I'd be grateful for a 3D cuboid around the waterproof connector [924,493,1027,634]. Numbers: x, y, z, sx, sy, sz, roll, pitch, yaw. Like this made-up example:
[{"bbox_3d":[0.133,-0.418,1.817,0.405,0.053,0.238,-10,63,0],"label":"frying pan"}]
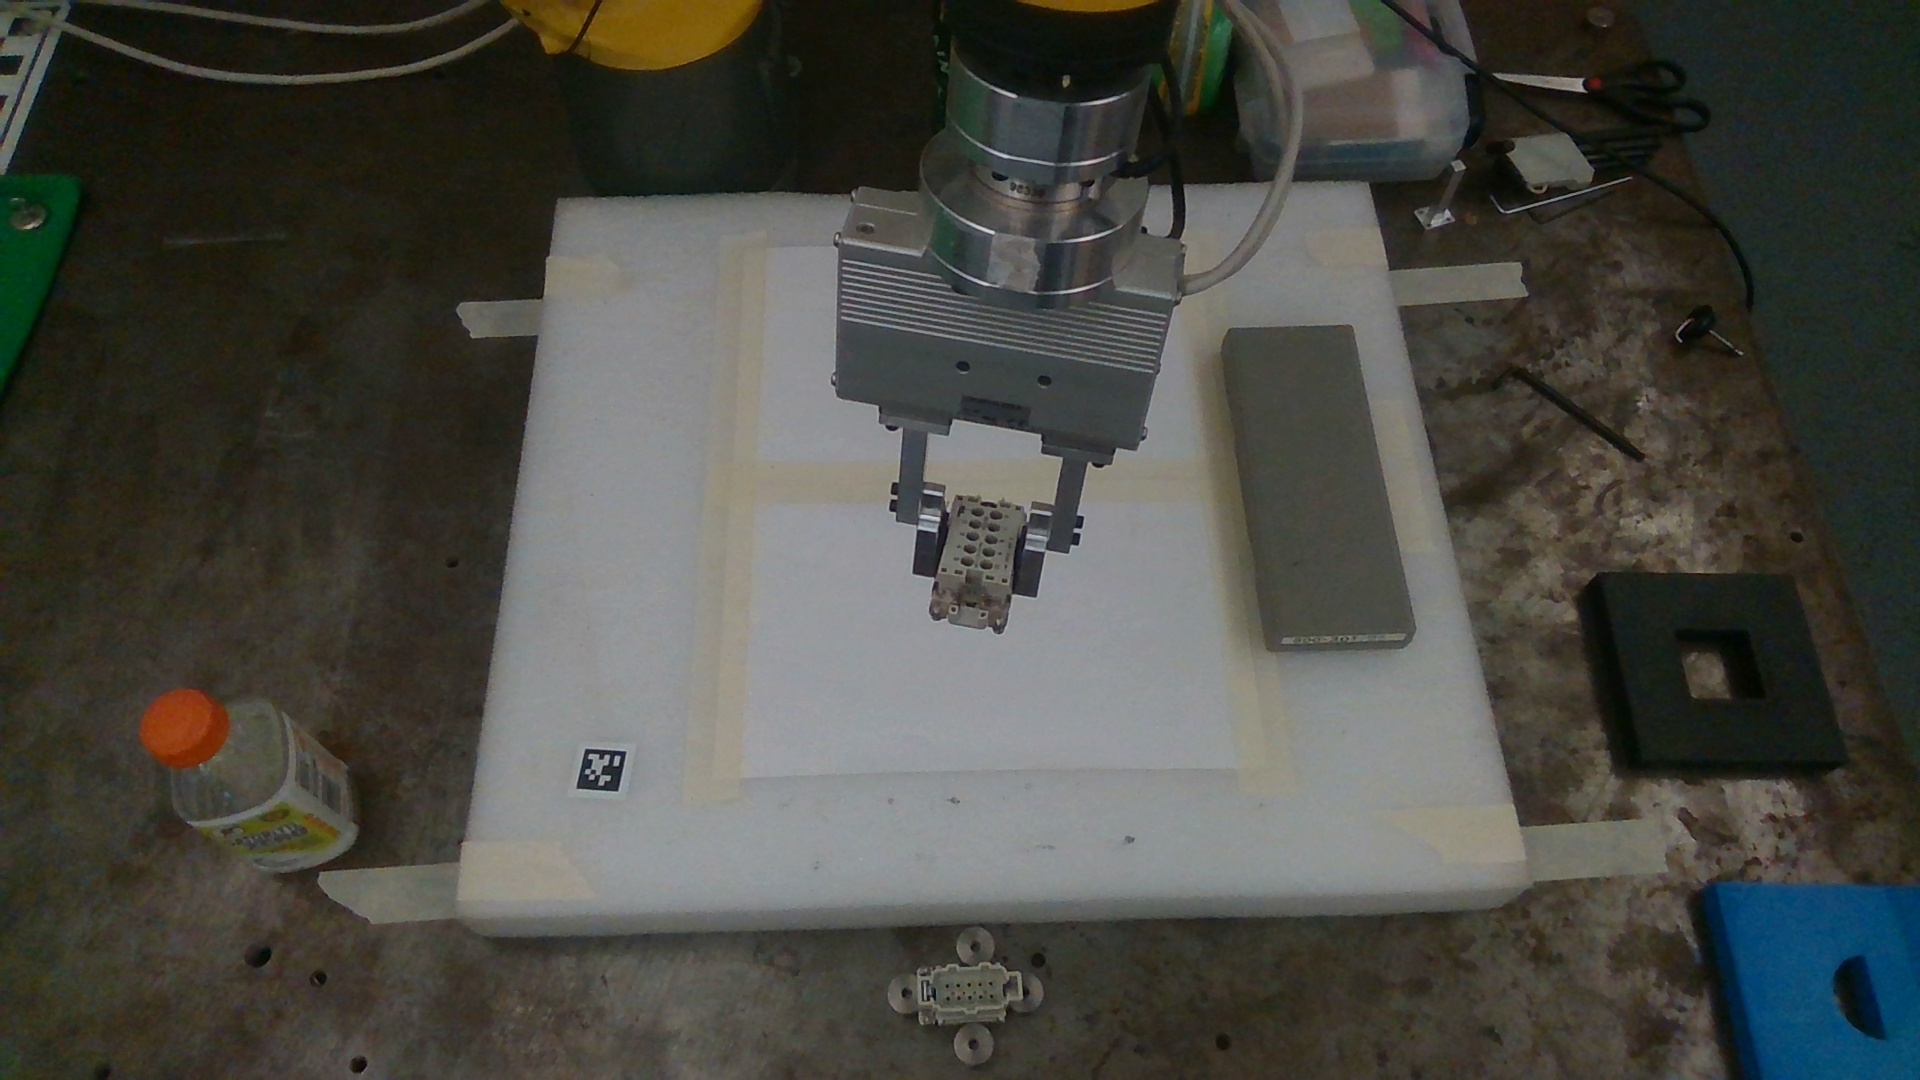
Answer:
[{"bbox_3d":[0.008,0.010,0.635,0.037,0.038,0.069,13,58,2],"label":"waterproof connector"}]
